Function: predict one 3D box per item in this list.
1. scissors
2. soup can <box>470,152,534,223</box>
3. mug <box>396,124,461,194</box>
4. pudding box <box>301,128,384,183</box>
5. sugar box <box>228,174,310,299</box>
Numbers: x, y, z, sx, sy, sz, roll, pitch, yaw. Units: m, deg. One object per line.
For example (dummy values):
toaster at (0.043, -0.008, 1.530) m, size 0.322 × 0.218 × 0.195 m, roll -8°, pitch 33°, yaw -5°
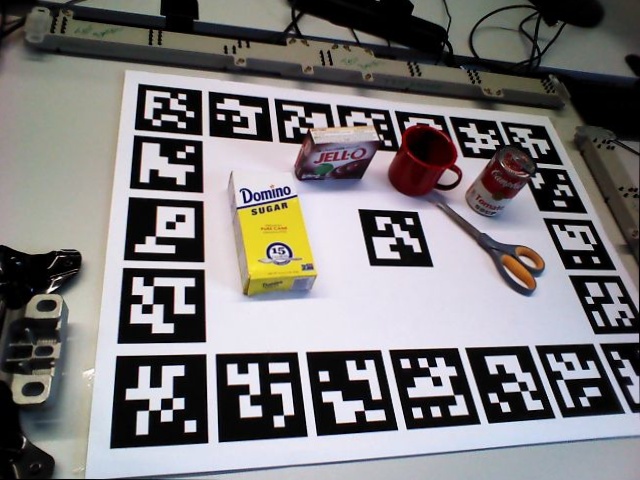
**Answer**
scissors at (0.275, 0.016, 0.805) m, size 0.203 × 0.016 × 0.087 m, roll 43°, pitch 67°, yaw 11°
soup can at (0.295, -0.082, 0.831) m, size 0.068 × 0.102 × 0.067 m, roll 7°, pitch 56°, yaw -11°
mug at (0.179, -0.119, 0.823) m, size 0.093 × 0.082 × 0.117 m, roll -34°, pitch 72°, yaw -28°
pudding box at (0.037, -0.128, 0.778) m, size 0.113 × 0.090 × 0.038 m, roll -6°, pitch 68°, yaw -20°
sugar box at (-0.073, -0.009, 0.708) m, size 0.093 × 0.045 × 0.175 m, roll -2°, pitch 61°, yaw -15°
